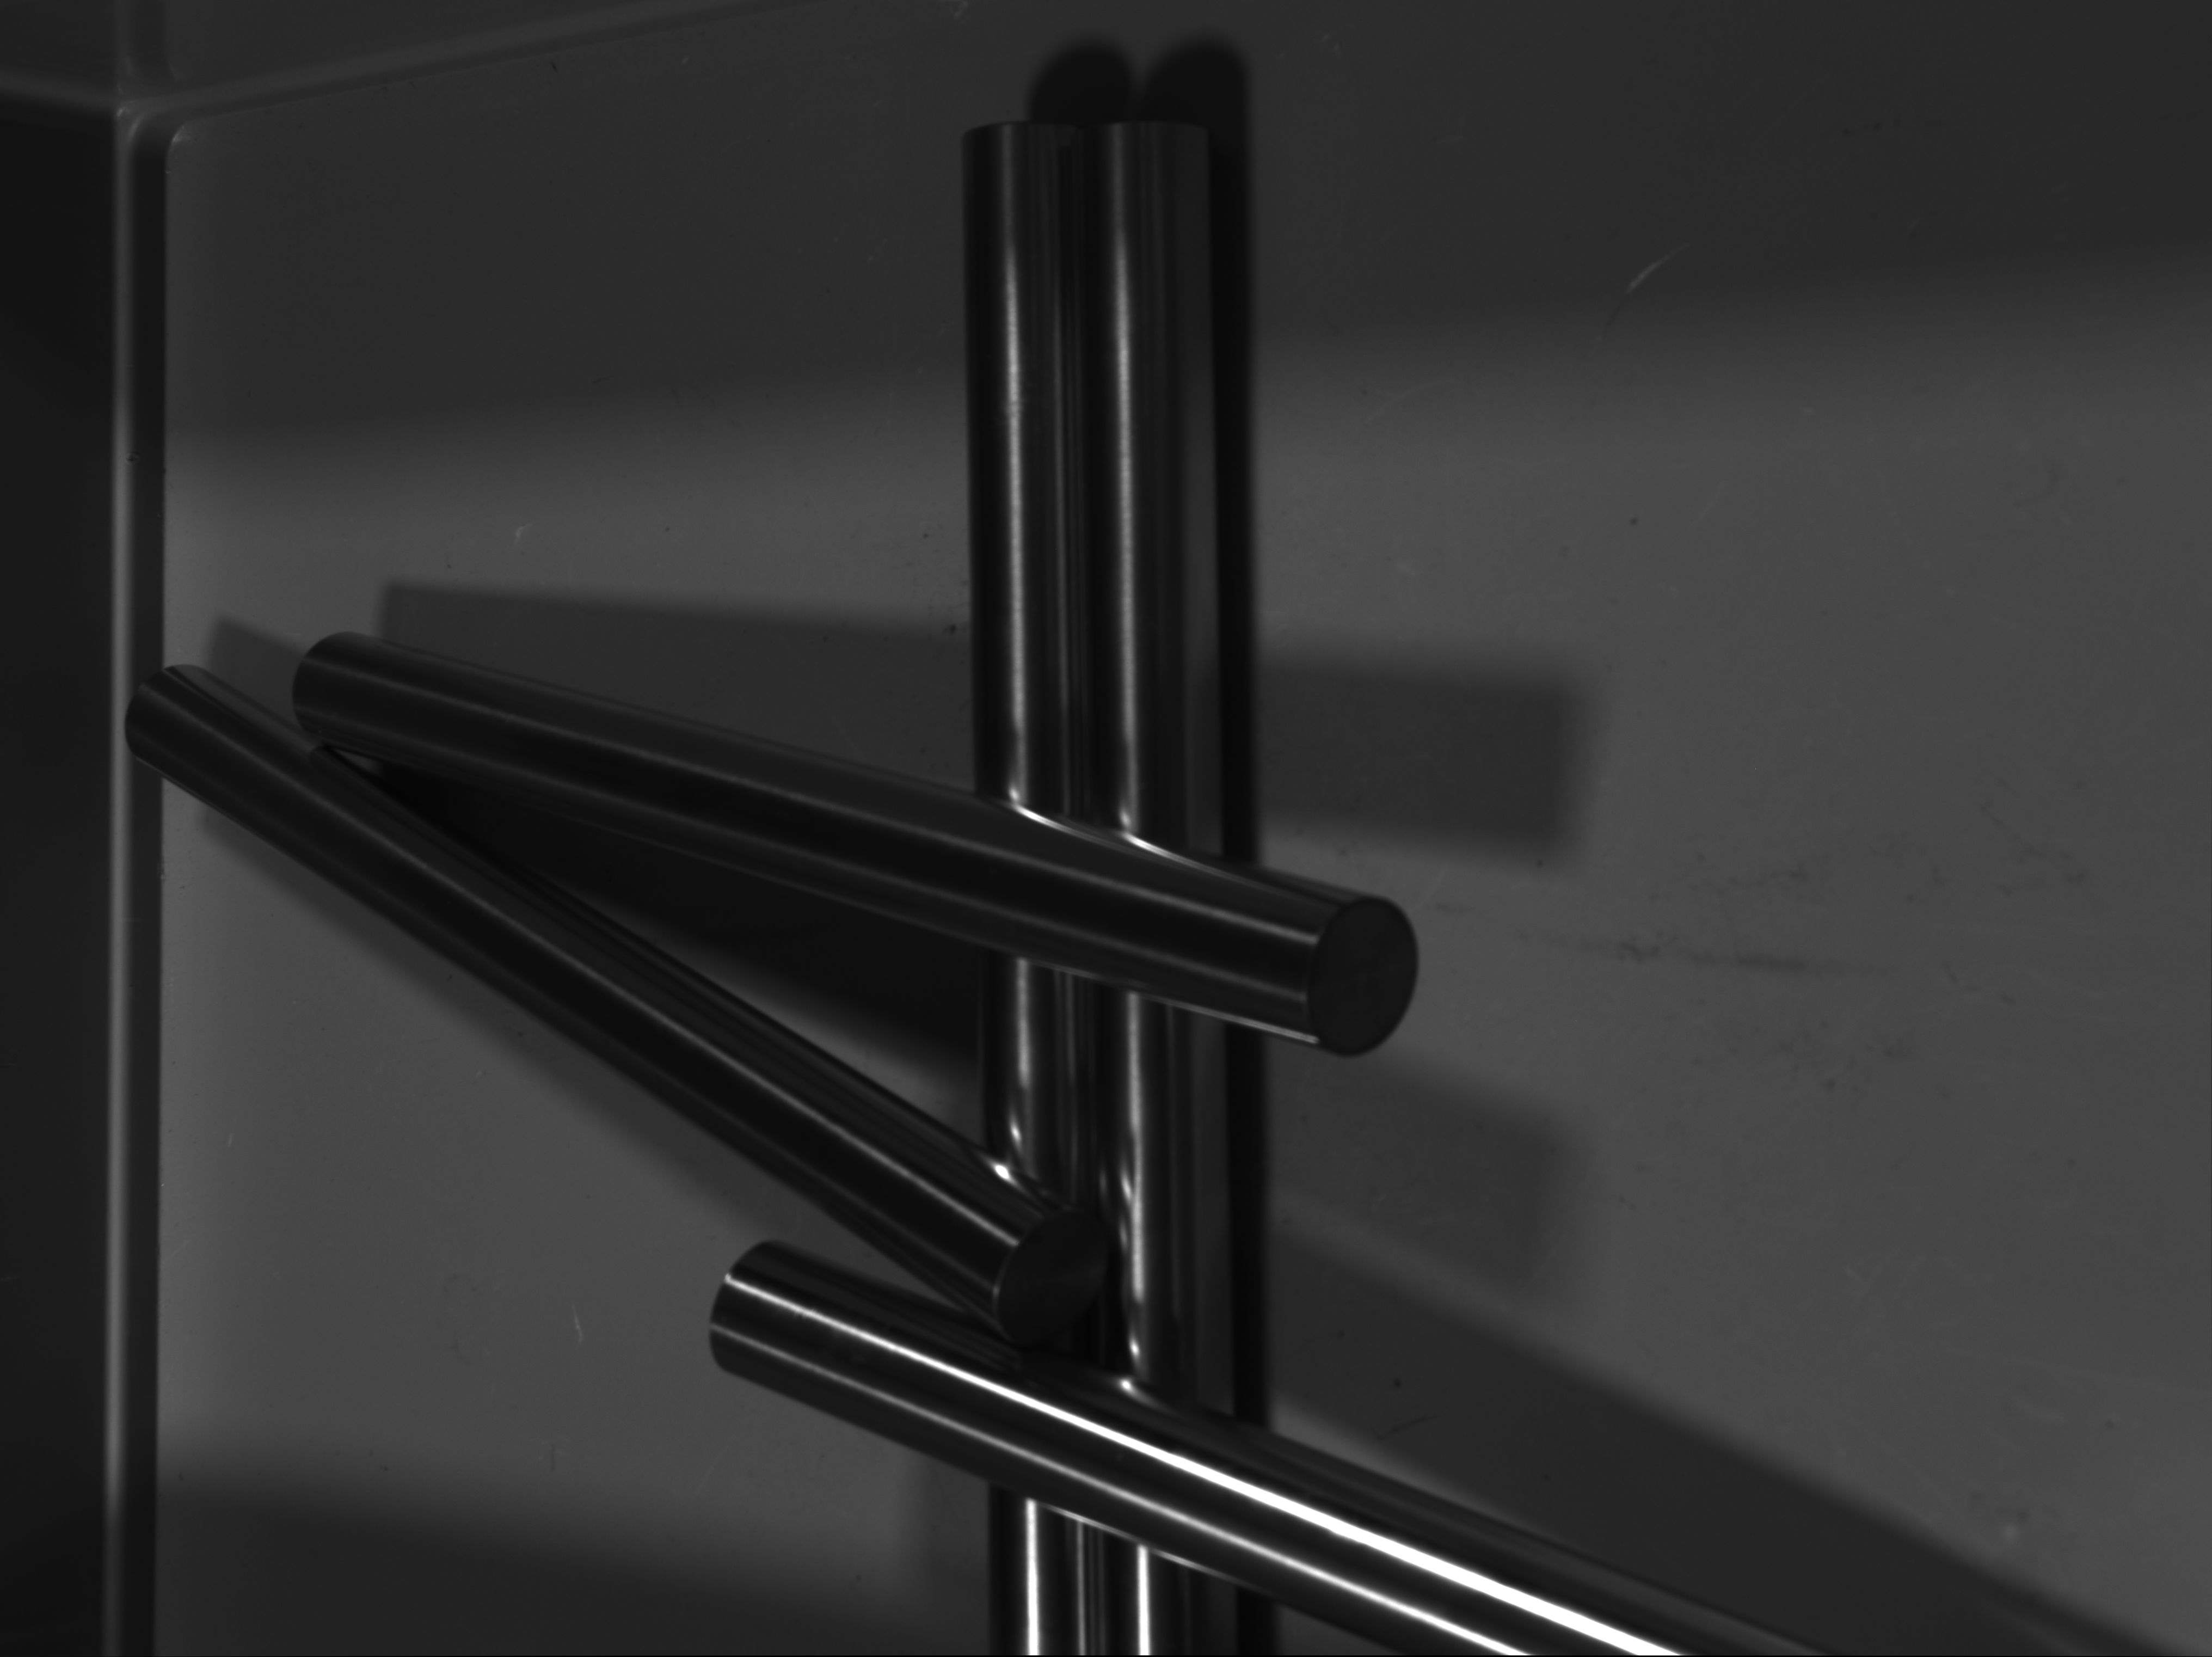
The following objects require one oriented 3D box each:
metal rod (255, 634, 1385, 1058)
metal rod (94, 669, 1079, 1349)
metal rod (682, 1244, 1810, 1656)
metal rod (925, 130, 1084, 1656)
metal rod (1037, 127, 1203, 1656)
[{"bbox_3d":[-0.067,-0.003,0.665,0.299,0.025,0.025,14,99,46],"label":"metal rod"},{"bbox_3d":[-0.113,0.026,0.711,0.299,0.025,0.025,26,106,42],"label":"metal rod"},{"bbox_3d":[0.054,0.121,0.568,0.299,0.025,0.025,16,100,33],"label":"metal rod"},{"bbox_3d":[-0.017,0.029,0.647,0.025,0.025,0.300,-2,89,39],"label":"metal rod"},{"bbox_3d":[0.003,0.031,0.631,0.025,0.025,0.300,-2,89,39],"label":"metal rod"}]
